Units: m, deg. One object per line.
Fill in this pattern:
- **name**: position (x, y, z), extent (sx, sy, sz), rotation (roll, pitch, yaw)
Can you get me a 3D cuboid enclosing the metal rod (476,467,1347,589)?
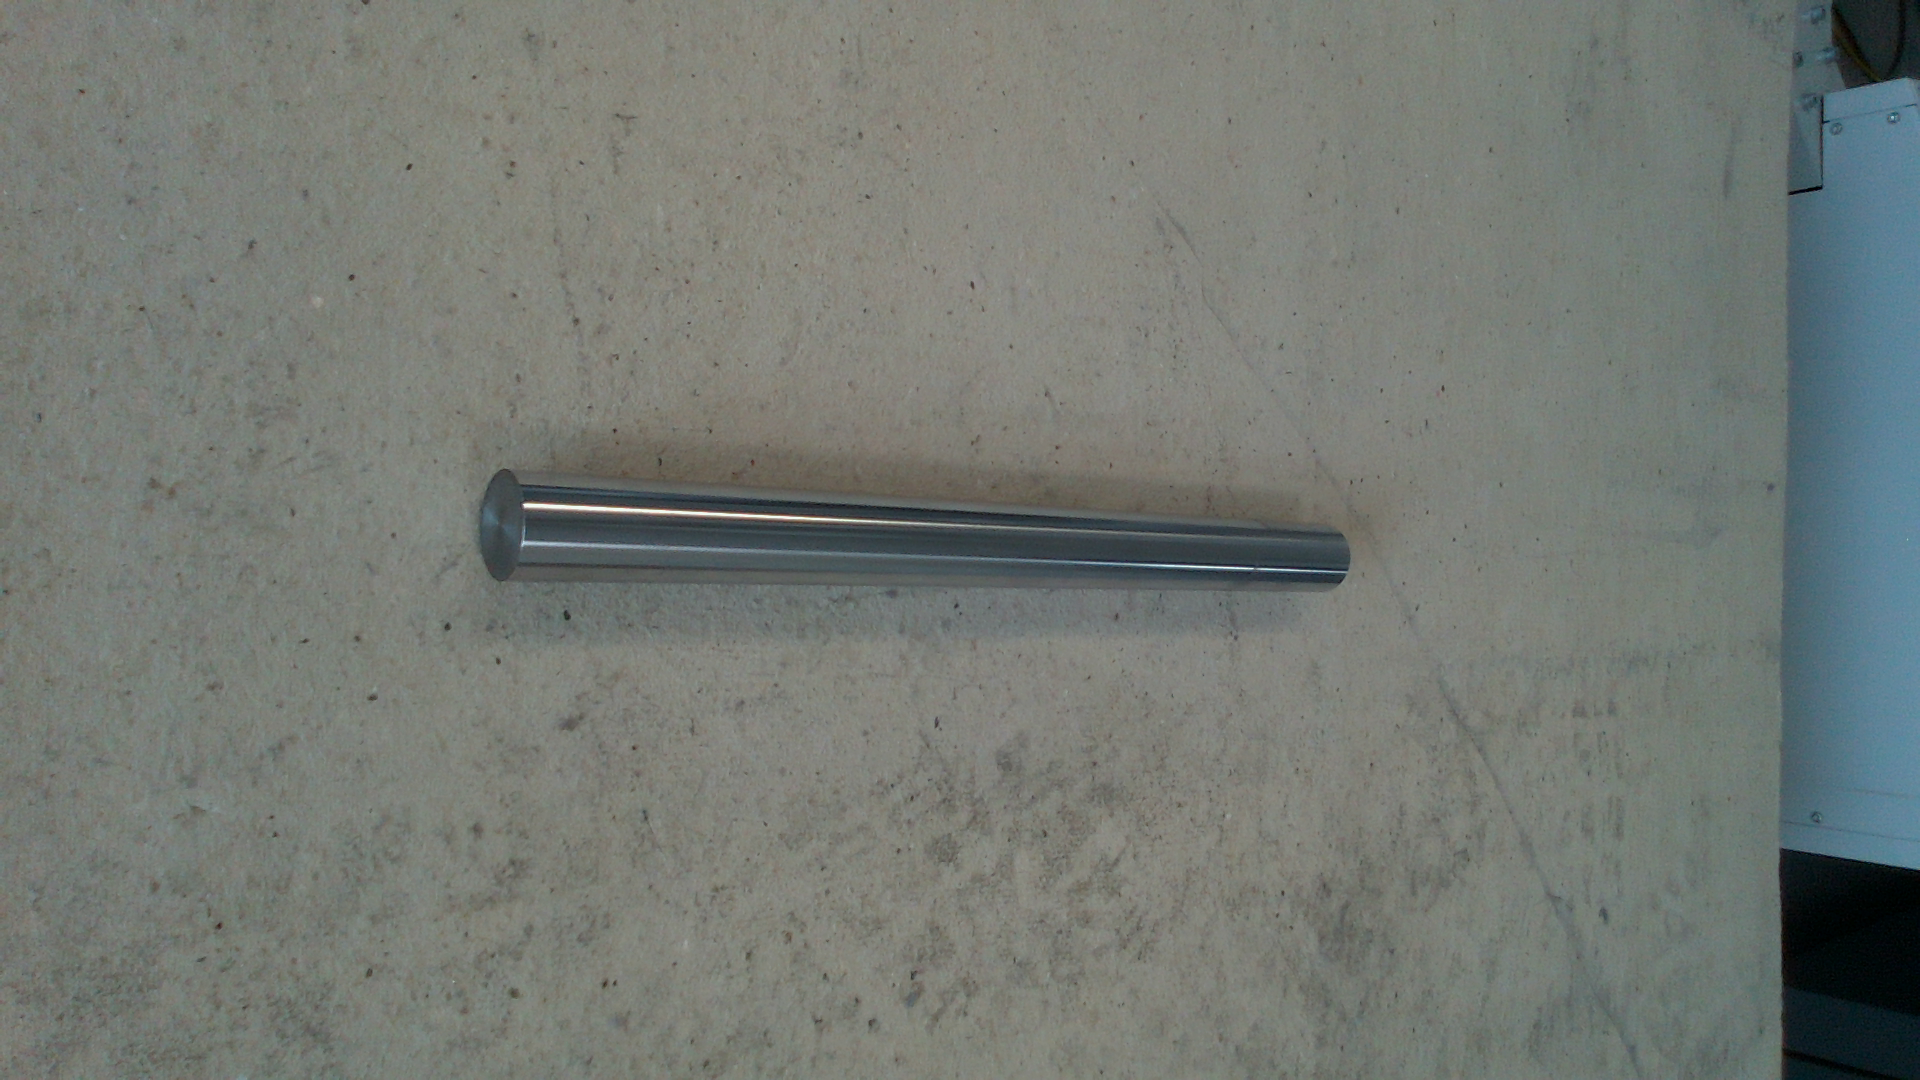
- **metal rod**: position (0.013, 0.001, 0.400), extent (0.301, 0.025, 0.025), rotation (2, 89, -40)
